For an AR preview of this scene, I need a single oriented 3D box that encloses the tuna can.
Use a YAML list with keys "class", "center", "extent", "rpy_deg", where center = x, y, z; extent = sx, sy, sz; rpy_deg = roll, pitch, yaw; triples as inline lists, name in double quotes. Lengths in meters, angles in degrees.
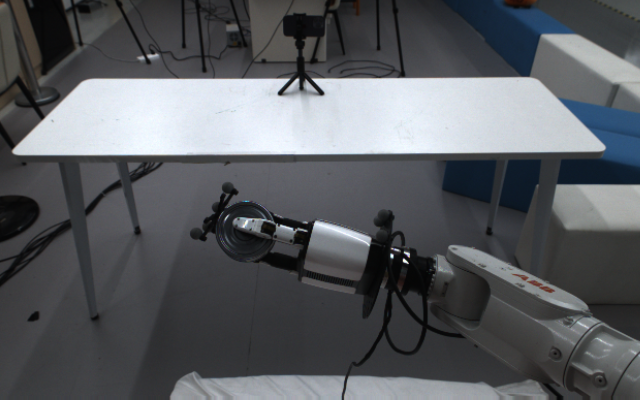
- class: "tuna can"
  center: [-0.102, 0.049, 0.690]
  extent: [0.085, 0.034, 0.085]
  rpy_deg: [1, 77, -5]
